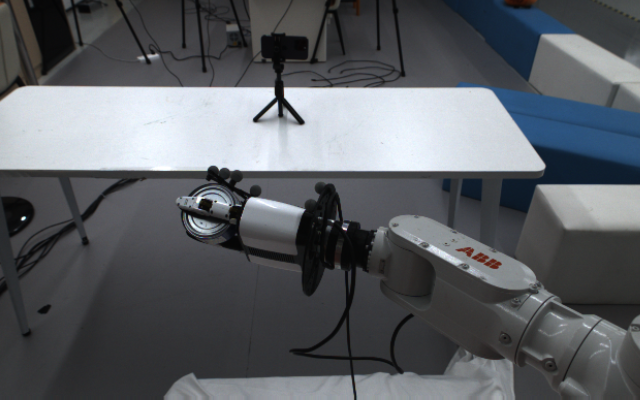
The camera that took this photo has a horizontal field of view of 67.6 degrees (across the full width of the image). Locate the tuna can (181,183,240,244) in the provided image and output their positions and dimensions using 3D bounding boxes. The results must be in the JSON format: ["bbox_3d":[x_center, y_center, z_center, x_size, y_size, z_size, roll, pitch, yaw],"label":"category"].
[{"bbox_3d":[-0.156,0.020,0.708,0.085,0.034,0.085,-4,67,10],"label":"tuna can"}]
